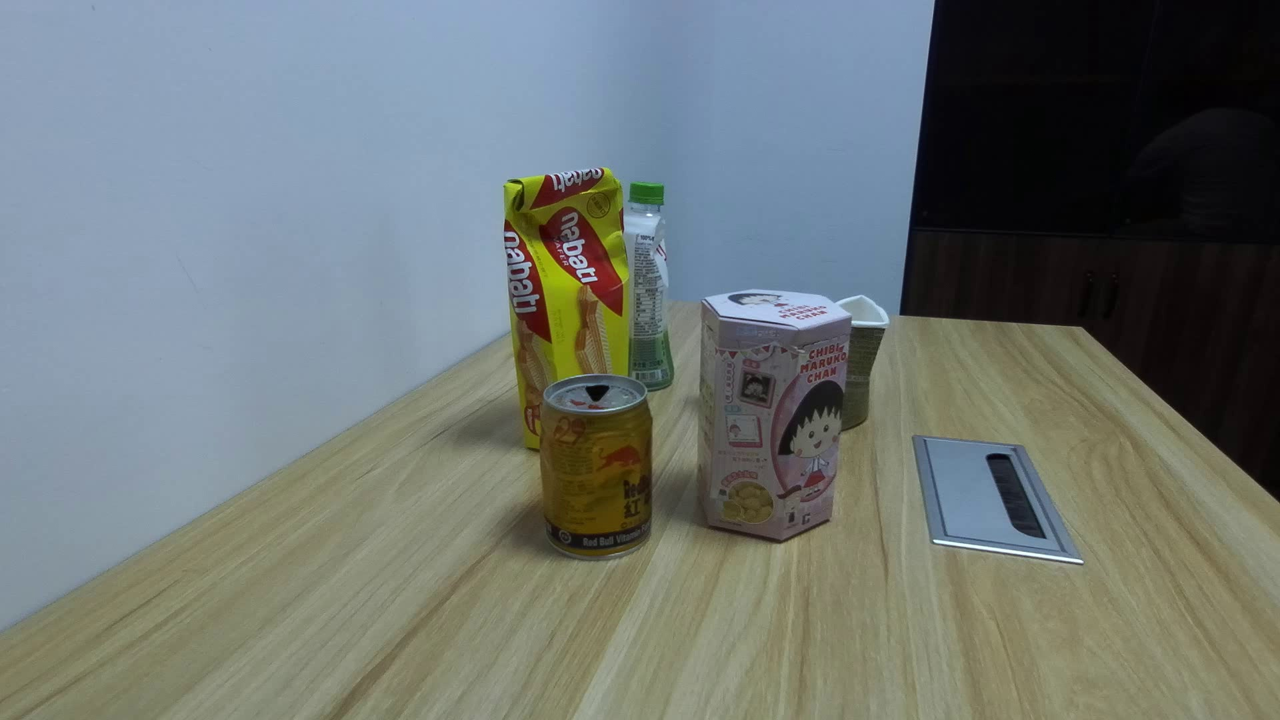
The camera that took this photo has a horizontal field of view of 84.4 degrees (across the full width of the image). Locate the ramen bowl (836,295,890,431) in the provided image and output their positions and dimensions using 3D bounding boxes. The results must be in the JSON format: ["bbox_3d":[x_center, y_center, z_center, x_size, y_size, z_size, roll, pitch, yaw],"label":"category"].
[{"bbox_3d":[0.138,-0.002,0.609,0.128,0.093,0.111,3,19,1],"label":"ramen bowl"}]

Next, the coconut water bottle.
[{"bbox_3d":[0.002,-0.068,0.653,0.069,0.187,0.069,1,11,0],"label":"coconut water bottle"}]

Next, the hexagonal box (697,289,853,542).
[{"bbox_3d":[0.080,0.032,0.437,0.091,0.136,0.083,-13,23,-35],"label":"hexagonal box"}]

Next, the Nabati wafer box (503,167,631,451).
[{"bbox_3d":[-0.051,-0.037,0.539,0.042,0.205,0.114,10,22,33],"label":"Nabati wafer box"}]
